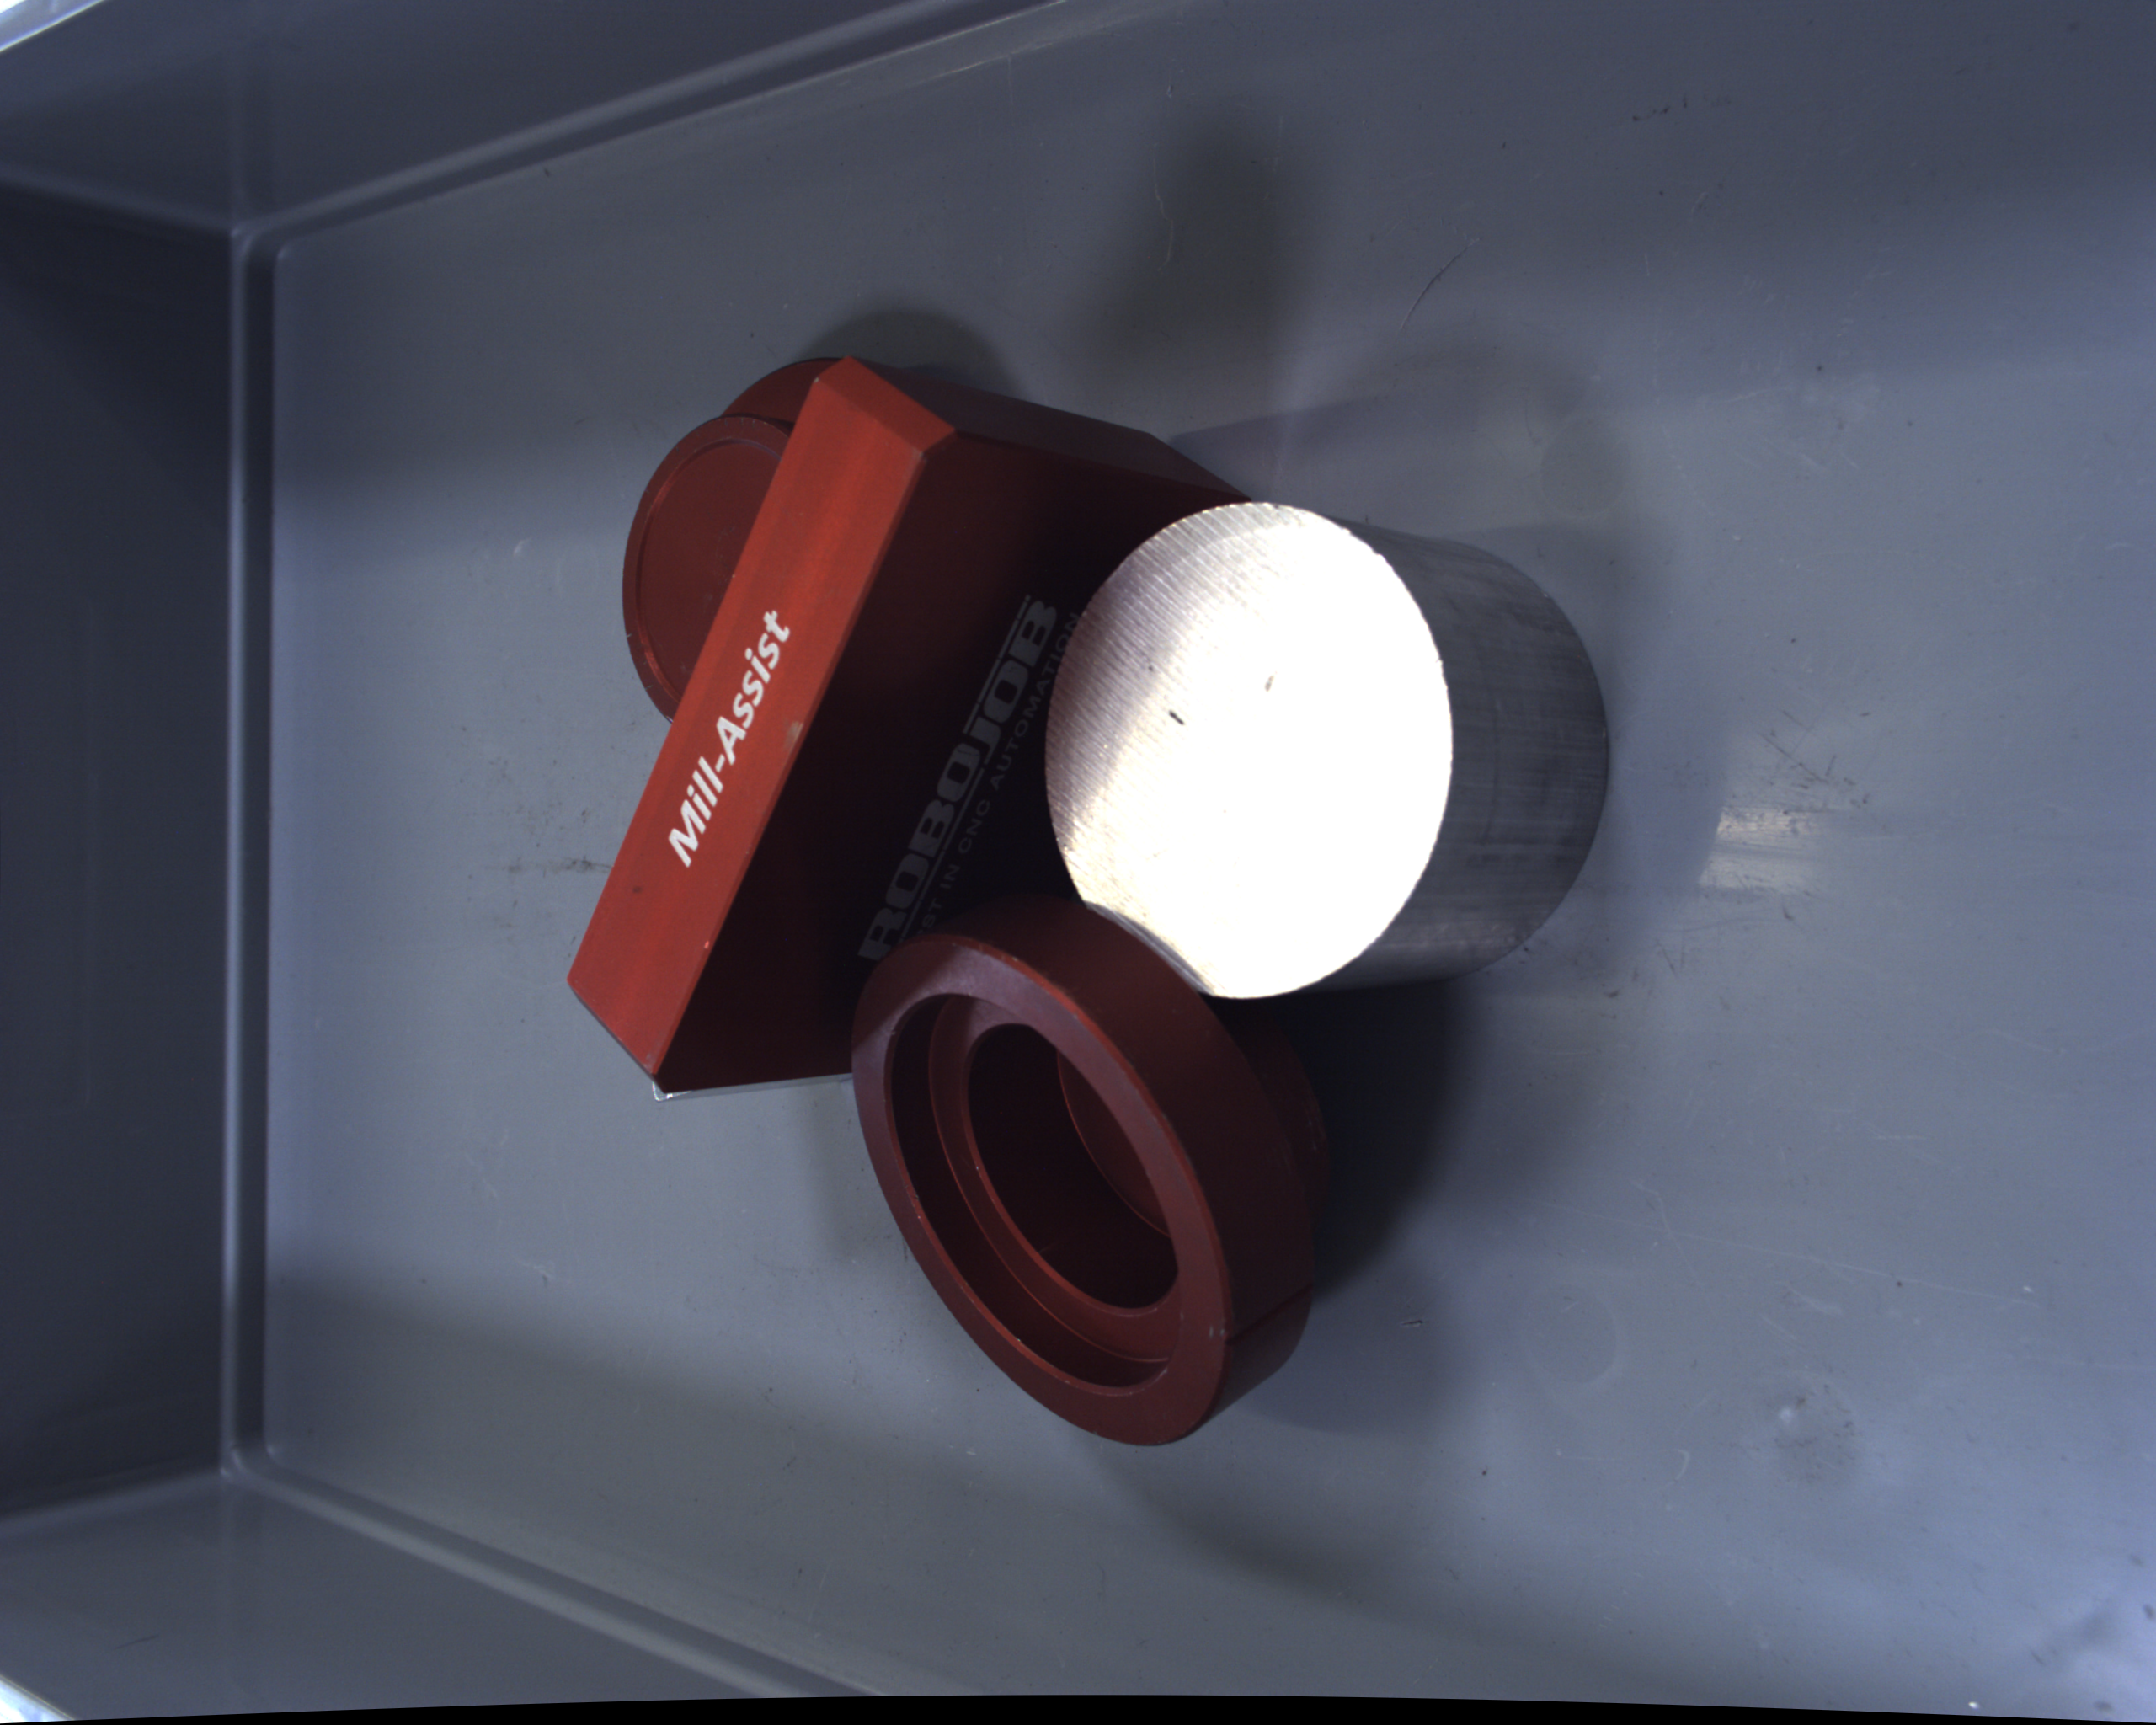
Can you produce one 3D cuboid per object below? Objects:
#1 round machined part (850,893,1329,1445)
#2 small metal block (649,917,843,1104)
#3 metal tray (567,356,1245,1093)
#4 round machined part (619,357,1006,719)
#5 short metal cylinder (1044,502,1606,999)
[{"bbox_3d":[0.006,0.050,0.373,0.098,0.042,0.097,29,131,38],"label":"round machined part"},{"bbox_3d":[-0.067,0.022,0.442,0.025,0.050,0.050,-19,78,38],"label":"small metal block"},{"bbox_3d":[-0.030,-0.021,0.386,0.030,0.091,0.129,40,114,33],"label":"metal tray"},{"bbox_3d":[-0.059,-0.058,0.441,0.098,0.042,0.097,0,90,40],"label":"round machined part"},{"bbox_3d":[0.041,-0.018,0.354,0.080,0.050,0.079,0,90,40],"label":"short metal cylinder"}]
